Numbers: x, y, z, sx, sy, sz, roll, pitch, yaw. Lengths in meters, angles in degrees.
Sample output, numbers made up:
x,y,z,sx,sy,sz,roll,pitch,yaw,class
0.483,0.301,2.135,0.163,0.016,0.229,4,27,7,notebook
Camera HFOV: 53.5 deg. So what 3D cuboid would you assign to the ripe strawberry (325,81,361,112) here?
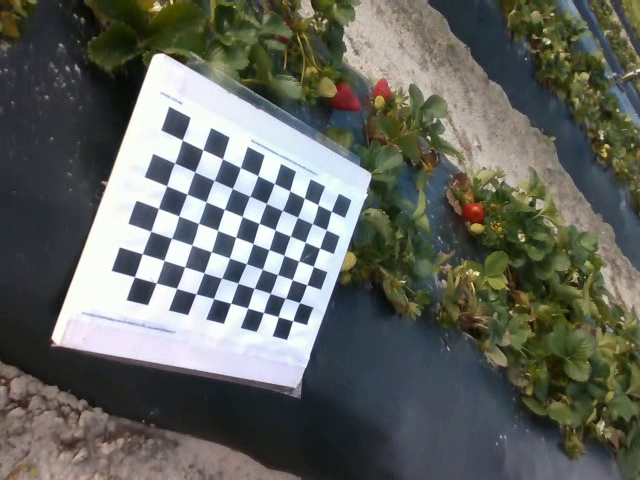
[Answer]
x,y,z,sx,sy,sz,roll,pitch,yaw,class
0.045,-0.234,1.065,0.055,0.051,0.048,39,-25,19,ripe strawberry
